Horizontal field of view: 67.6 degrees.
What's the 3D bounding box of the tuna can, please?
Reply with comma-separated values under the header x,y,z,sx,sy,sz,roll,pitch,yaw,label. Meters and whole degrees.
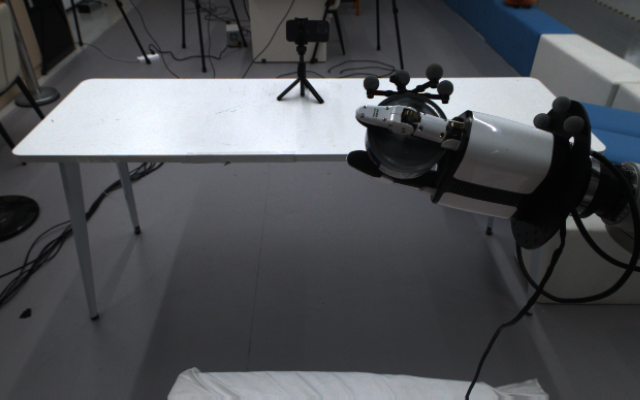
x,y,z,sx,sy,sz,roll,pitch,yaw,label
0.092,-0.069,0.510,0.085,0.034,0.085,0,74,1,tuna can
